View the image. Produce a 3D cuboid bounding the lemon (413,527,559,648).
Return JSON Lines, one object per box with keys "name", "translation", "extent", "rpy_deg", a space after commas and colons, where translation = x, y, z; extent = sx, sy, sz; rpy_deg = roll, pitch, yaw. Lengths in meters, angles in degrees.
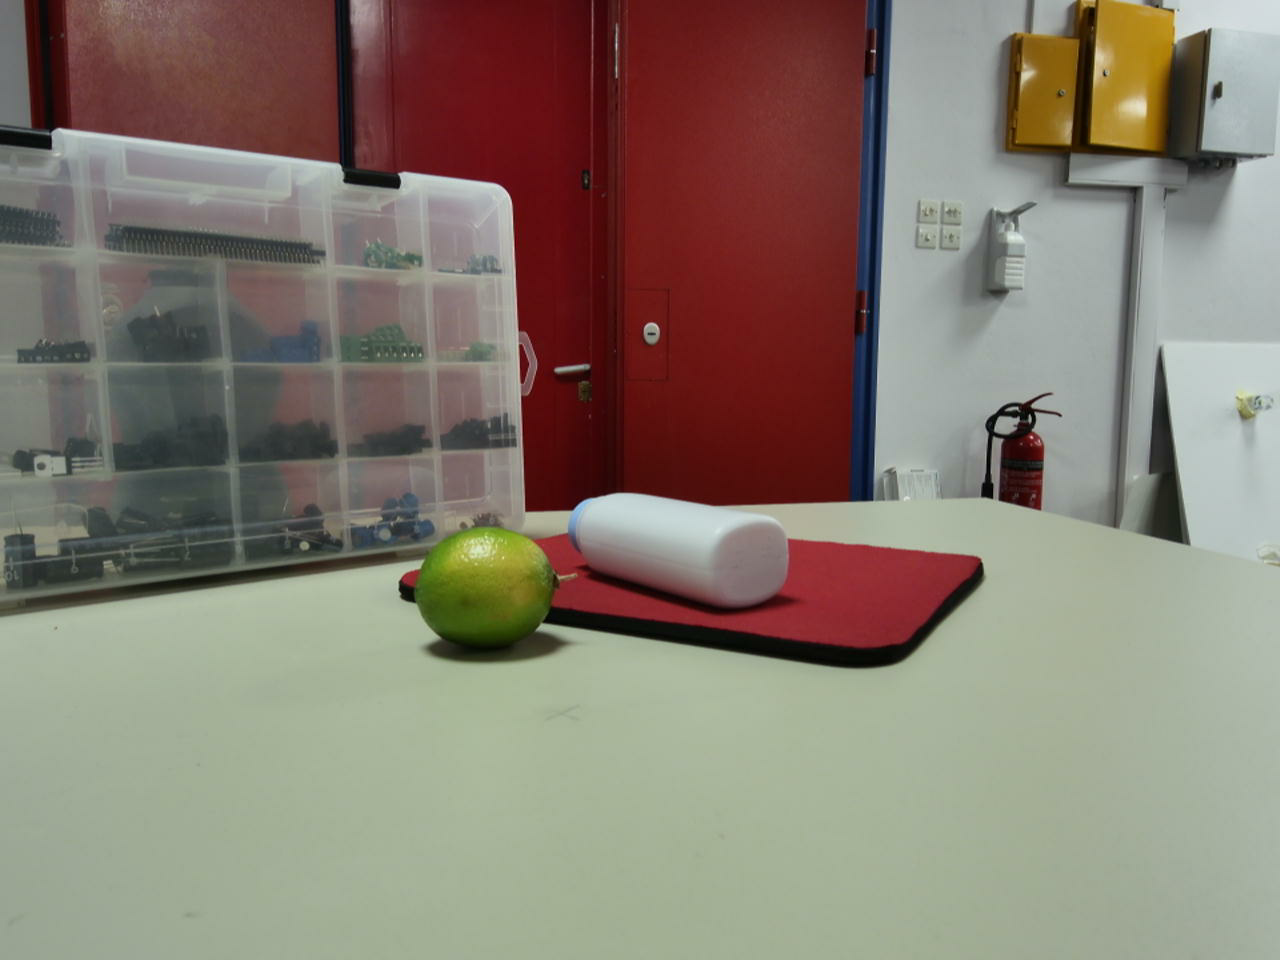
{"name": "lemon", "translation": [-0.066, 0.045, 0.426], "extent": [0.055, 0.050, 0.054], "rpy_deg": [2, 5, 37]}
